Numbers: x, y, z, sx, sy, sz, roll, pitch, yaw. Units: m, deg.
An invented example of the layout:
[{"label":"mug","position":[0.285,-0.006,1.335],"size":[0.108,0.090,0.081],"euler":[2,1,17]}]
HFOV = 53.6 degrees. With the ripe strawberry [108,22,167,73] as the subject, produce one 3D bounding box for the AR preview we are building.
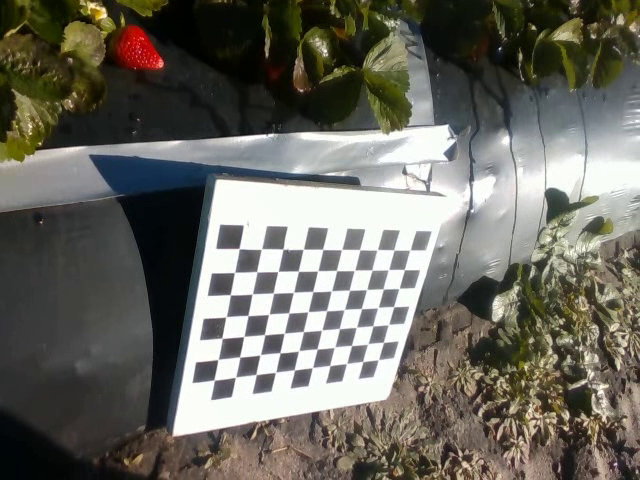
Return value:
[{"label":"ripe strawberry","position":[-0.165,-0.170,0.568],"size":[0.058,0.046,0.042],"euler":[35,0,-21]}]
